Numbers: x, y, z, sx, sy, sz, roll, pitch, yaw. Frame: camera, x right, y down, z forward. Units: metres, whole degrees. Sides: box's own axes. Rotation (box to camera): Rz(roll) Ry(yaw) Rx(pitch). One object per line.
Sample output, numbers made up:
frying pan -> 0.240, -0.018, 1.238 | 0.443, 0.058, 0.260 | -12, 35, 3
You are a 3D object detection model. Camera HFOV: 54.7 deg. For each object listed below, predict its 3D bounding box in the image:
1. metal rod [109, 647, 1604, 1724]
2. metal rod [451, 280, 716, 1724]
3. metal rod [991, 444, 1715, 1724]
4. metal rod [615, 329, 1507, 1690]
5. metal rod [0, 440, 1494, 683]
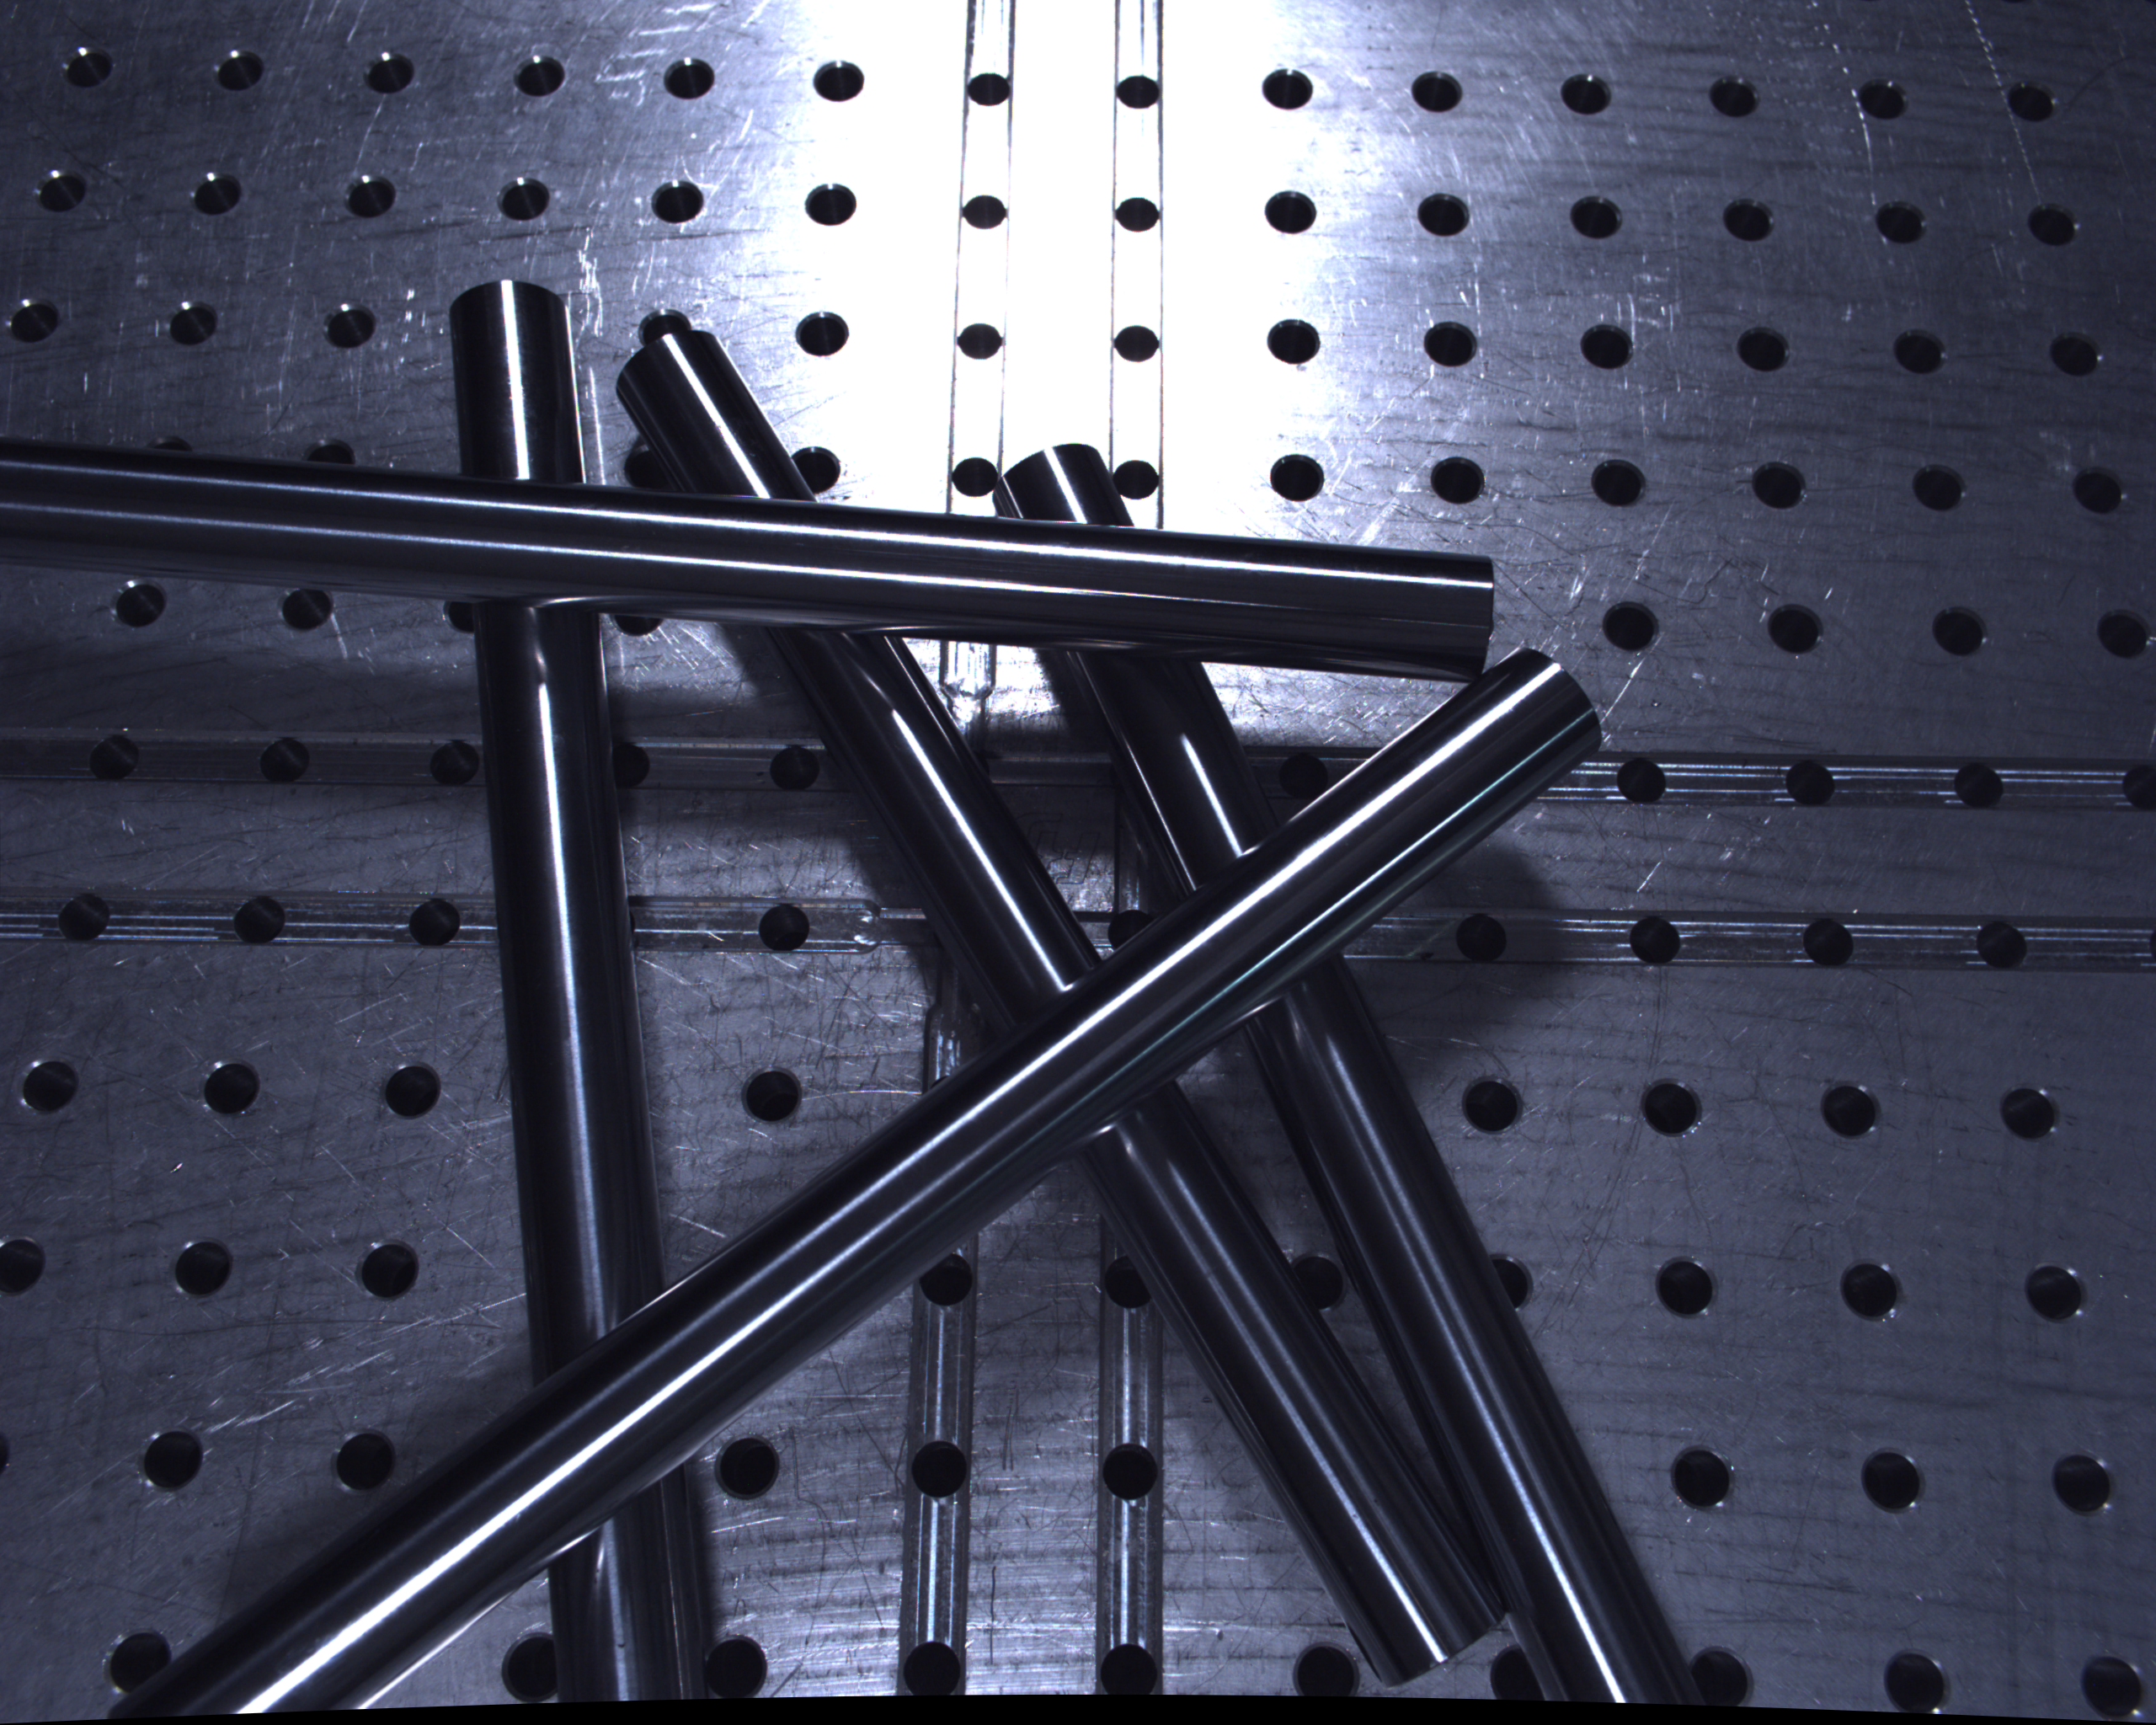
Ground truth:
metal rod -> -0.027, 0.056, 0.364 | 0.301, 0.025, 0.025 | -36, 74, -13
metal rod -> -0.098, 0.019, 0.403 | 0.025, 0.025, 0.299 | -9, 70, -4
metal rod -> 0.051, 0.049, 0.394 | 0.025, 0.025, 0.299 | -21, 72, -8
metal rod -> -0.012, 0.015, 0.405 | 0.025, 0.025, 0.299 | -29, 73, -10
metal rod -> -0.072, -0.059, 0.406 | 0.302, 0.025, 0.025 | 5, 70, 1
